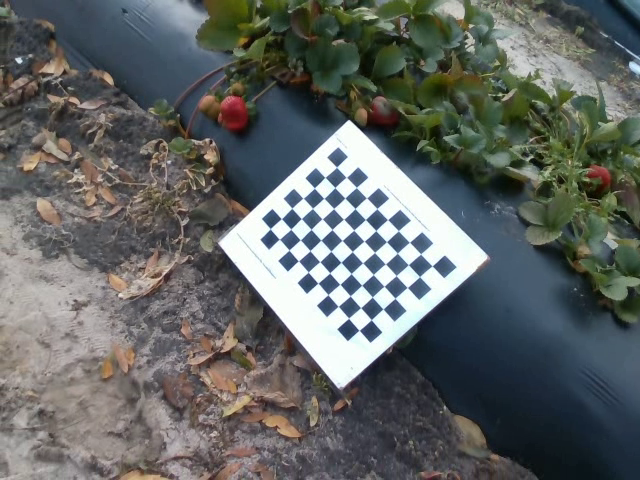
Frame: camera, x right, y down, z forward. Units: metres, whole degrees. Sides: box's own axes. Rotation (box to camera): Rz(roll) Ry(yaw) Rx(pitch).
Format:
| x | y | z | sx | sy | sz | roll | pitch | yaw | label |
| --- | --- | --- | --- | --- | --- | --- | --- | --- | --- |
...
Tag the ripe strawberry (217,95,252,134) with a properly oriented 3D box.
| x | y | z | sx | sy | sz | roll | pitch | yaw | label |
| --- | --- | --- | --- | --- | --- | --- | --- | --- | --- |
| -0.155 | -0.231 | 1.057 | 0.066 | 0.075 | 0.052 | 28 | -3 | 18 | ripe strawberry |
